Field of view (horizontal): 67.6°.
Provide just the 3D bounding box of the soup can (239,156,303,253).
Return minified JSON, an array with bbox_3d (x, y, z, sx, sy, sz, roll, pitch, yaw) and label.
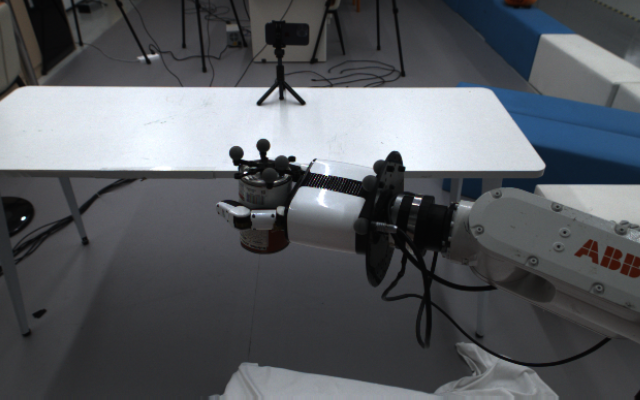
[{"bbox_3d":[-0.068,0.009,0.614,0.067,0.101,0.067,3,30,-2],"label":"soup can"}]
